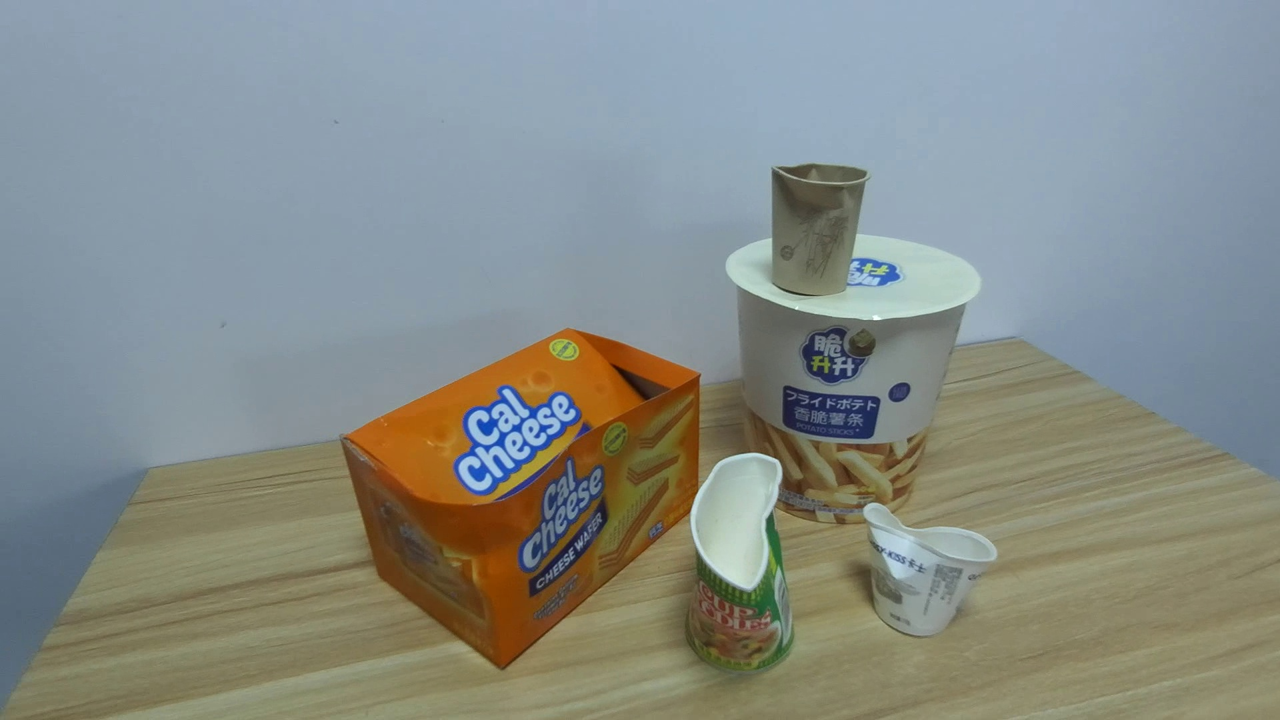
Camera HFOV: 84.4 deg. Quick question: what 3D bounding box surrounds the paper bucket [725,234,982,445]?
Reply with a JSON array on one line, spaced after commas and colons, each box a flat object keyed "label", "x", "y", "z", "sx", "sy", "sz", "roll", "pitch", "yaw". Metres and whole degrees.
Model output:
[{"label": "paper bucket", "x": 0.162, "y": 0.015, "z": 0.588, "sx": 0.198, "sy": 0.195, "sz": 0.198, "roll": -1, "pitch": 27, "yaw": 1}]

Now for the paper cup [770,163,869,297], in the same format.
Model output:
[{"label": "paper cup", "x": 0.128, "y": -0.093, "z": 0.499, "sx": 0.072, "sy": 0.084, "sz": 0.066, "roll": -20, "pitch": 31, "yaw": -41}]

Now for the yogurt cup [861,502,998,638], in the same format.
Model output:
[{"label": "yogurt cup", "x": 0.187, "y": 0.139, "z": 0.472, "sx": 0.075, "sy": 0.071, "sz": 0.053, "roll": 2, "pitch": 28, "yaw": 7}]

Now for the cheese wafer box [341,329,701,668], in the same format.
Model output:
[{"label": "cheese wafer box", "x": -0.075, "y": 0.088, "z": 0.531, "sx": 0.151, "sy": 0.132, "sz": 0.231, "roll": 21, "pitch": 33, "yaw": 34}]

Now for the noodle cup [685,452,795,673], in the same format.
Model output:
[{"label": "noodle cup", "x": 0.066, "y": 0.134, "z": 0.449, "sx": 0.070, "sy": 0.111, "sz": 0.115, "roll": 18, "pitch": 32, "yaw": 32}]
